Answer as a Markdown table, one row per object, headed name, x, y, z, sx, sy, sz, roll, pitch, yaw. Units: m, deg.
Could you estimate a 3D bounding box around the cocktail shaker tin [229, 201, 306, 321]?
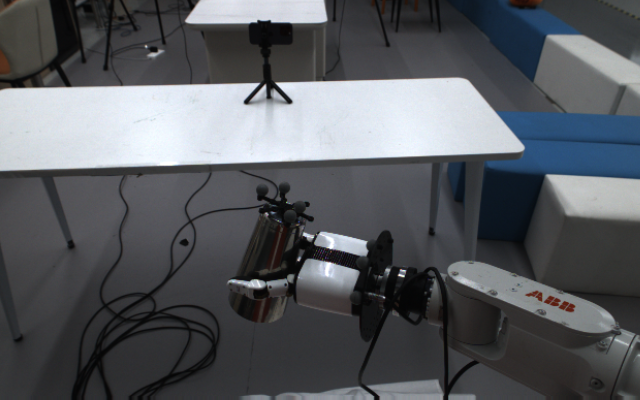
| name | x | y | z | sx | sy | sz | roll | pitch | yaw |
| --- | --- | --- | --- | --- | --- | --- | --- | --- | --- |
| cocktail shaker tin | -0.074 | 0.089 | 0.723 | 0.093 | 0.170 | 0.093 | 14 | 27 | -7 |
